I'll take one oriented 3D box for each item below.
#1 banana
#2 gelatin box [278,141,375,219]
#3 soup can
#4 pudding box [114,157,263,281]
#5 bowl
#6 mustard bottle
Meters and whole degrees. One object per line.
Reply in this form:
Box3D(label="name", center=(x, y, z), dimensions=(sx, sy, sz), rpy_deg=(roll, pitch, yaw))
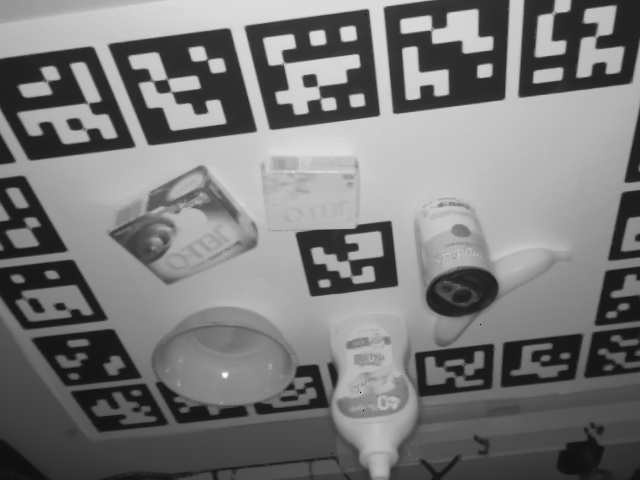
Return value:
Box3D(label="banana", center=(0.202, 0.072, 0.777), dimensions=(0.075, 0.039, 0.194), rpy_deg=(21, 128, -32))
Box3D(label="gelatin box", center=(0.006, -0.056, 0.661), dimensions=(0.089, 0.030, 0.072), rpy_deg=(-1, 128, -2))
Box3D(label="soup can", center=(0.148, 0.020, 0.675), dimensions=(0.068, 0.103, 0.067), rpy_deg=(0, 133, 1))
Box3D(label="pudding box", center=(-0.126, -0.019, 0.681), dimensions=(0.113, 0.039, 0.090), rpy_deg=(-25, 122, 18))
Box3D(label="bowl", center=(-0.111, 0.125, 0.801), dimensions=(0.162, 0.055, 0.160), rpy_deg=(-3, 132, -2))
Box3D(label="mustard bottle", center=(0.062, 0.175, 0.743), dimensions=(0.096, 0.193, 0.058), rpy_deg=(-5, 134, 3))
